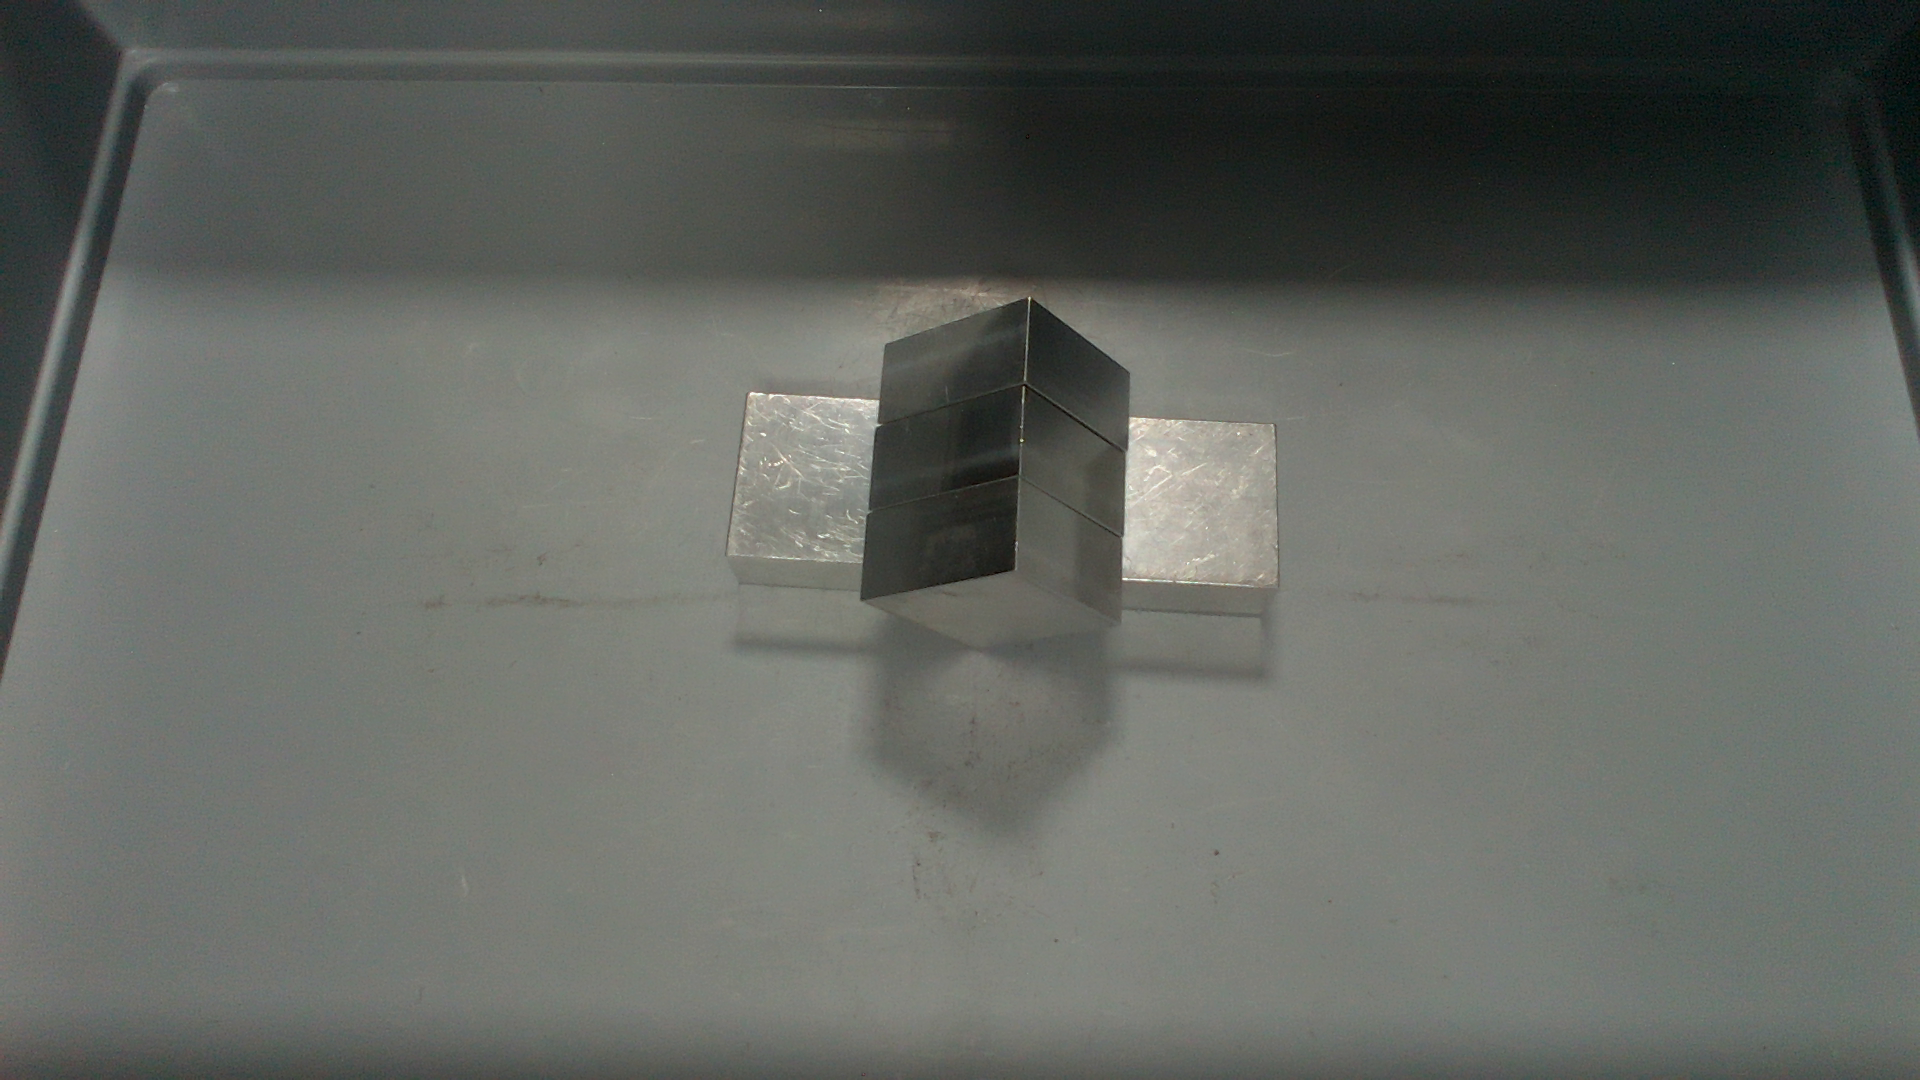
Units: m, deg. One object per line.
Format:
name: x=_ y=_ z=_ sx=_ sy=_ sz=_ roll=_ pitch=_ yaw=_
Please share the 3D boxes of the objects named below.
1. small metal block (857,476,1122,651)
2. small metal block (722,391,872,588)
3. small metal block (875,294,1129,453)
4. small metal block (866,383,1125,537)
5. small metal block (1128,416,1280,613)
small metal block: x=0.009 y=0.008 z=0.366 sx=0.050 sy=0.050 sz=0.025 roll=-12 pitch=65 yaw=35
small metal block: x=-0.039 y=-0.014 z=0.398 sx=0.050 sy=0.025 sz=0.050 roll=4 pitch=70 yaw=1
small metal block: x=0.013 y=-0.040 z=0.384 sx=0.050 sy=0.050 sz=0.025 roll=-12 pitch=65 yaw=35
small metal block: x=0.010 y=-0.016 z=0.375 sx=0.050 sy=0.050 sz=0.025 roll=-12 pitch=65 yaw=35
small metal block: x=0.064 y=-0.007 z=0.396 sx=0.050 sy=0.025 sz=0.050 roll=3 pitch=70 yaw=1
